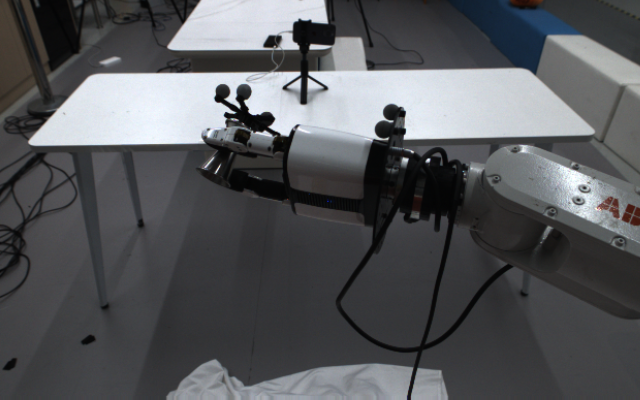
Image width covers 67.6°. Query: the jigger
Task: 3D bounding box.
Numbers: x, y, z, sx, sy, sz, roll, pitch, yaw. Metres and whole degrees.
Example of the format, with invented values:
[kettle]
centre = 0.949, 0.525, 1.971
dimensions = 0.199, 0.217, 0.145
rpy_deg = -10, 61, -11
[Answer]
[jigger]
centre = -0.107, -0.056, 0.557
dimensions = 0.043, 0.043, 0.071
rpy_deg = 20, 74, 24
